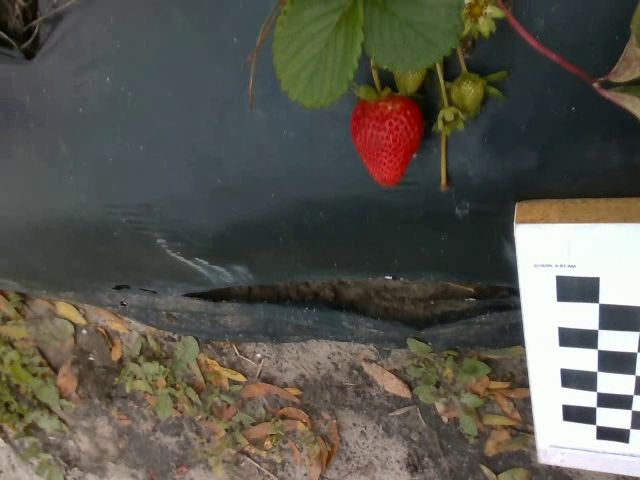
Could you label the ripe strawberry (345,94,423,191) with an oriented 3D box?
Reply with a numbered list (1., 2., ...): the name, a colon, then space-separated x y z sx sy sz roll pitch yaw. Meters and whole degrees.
1. ripe strawberry: 0.010 -0.015 0.095 0.018 0.017 0.014 -3 0 13
